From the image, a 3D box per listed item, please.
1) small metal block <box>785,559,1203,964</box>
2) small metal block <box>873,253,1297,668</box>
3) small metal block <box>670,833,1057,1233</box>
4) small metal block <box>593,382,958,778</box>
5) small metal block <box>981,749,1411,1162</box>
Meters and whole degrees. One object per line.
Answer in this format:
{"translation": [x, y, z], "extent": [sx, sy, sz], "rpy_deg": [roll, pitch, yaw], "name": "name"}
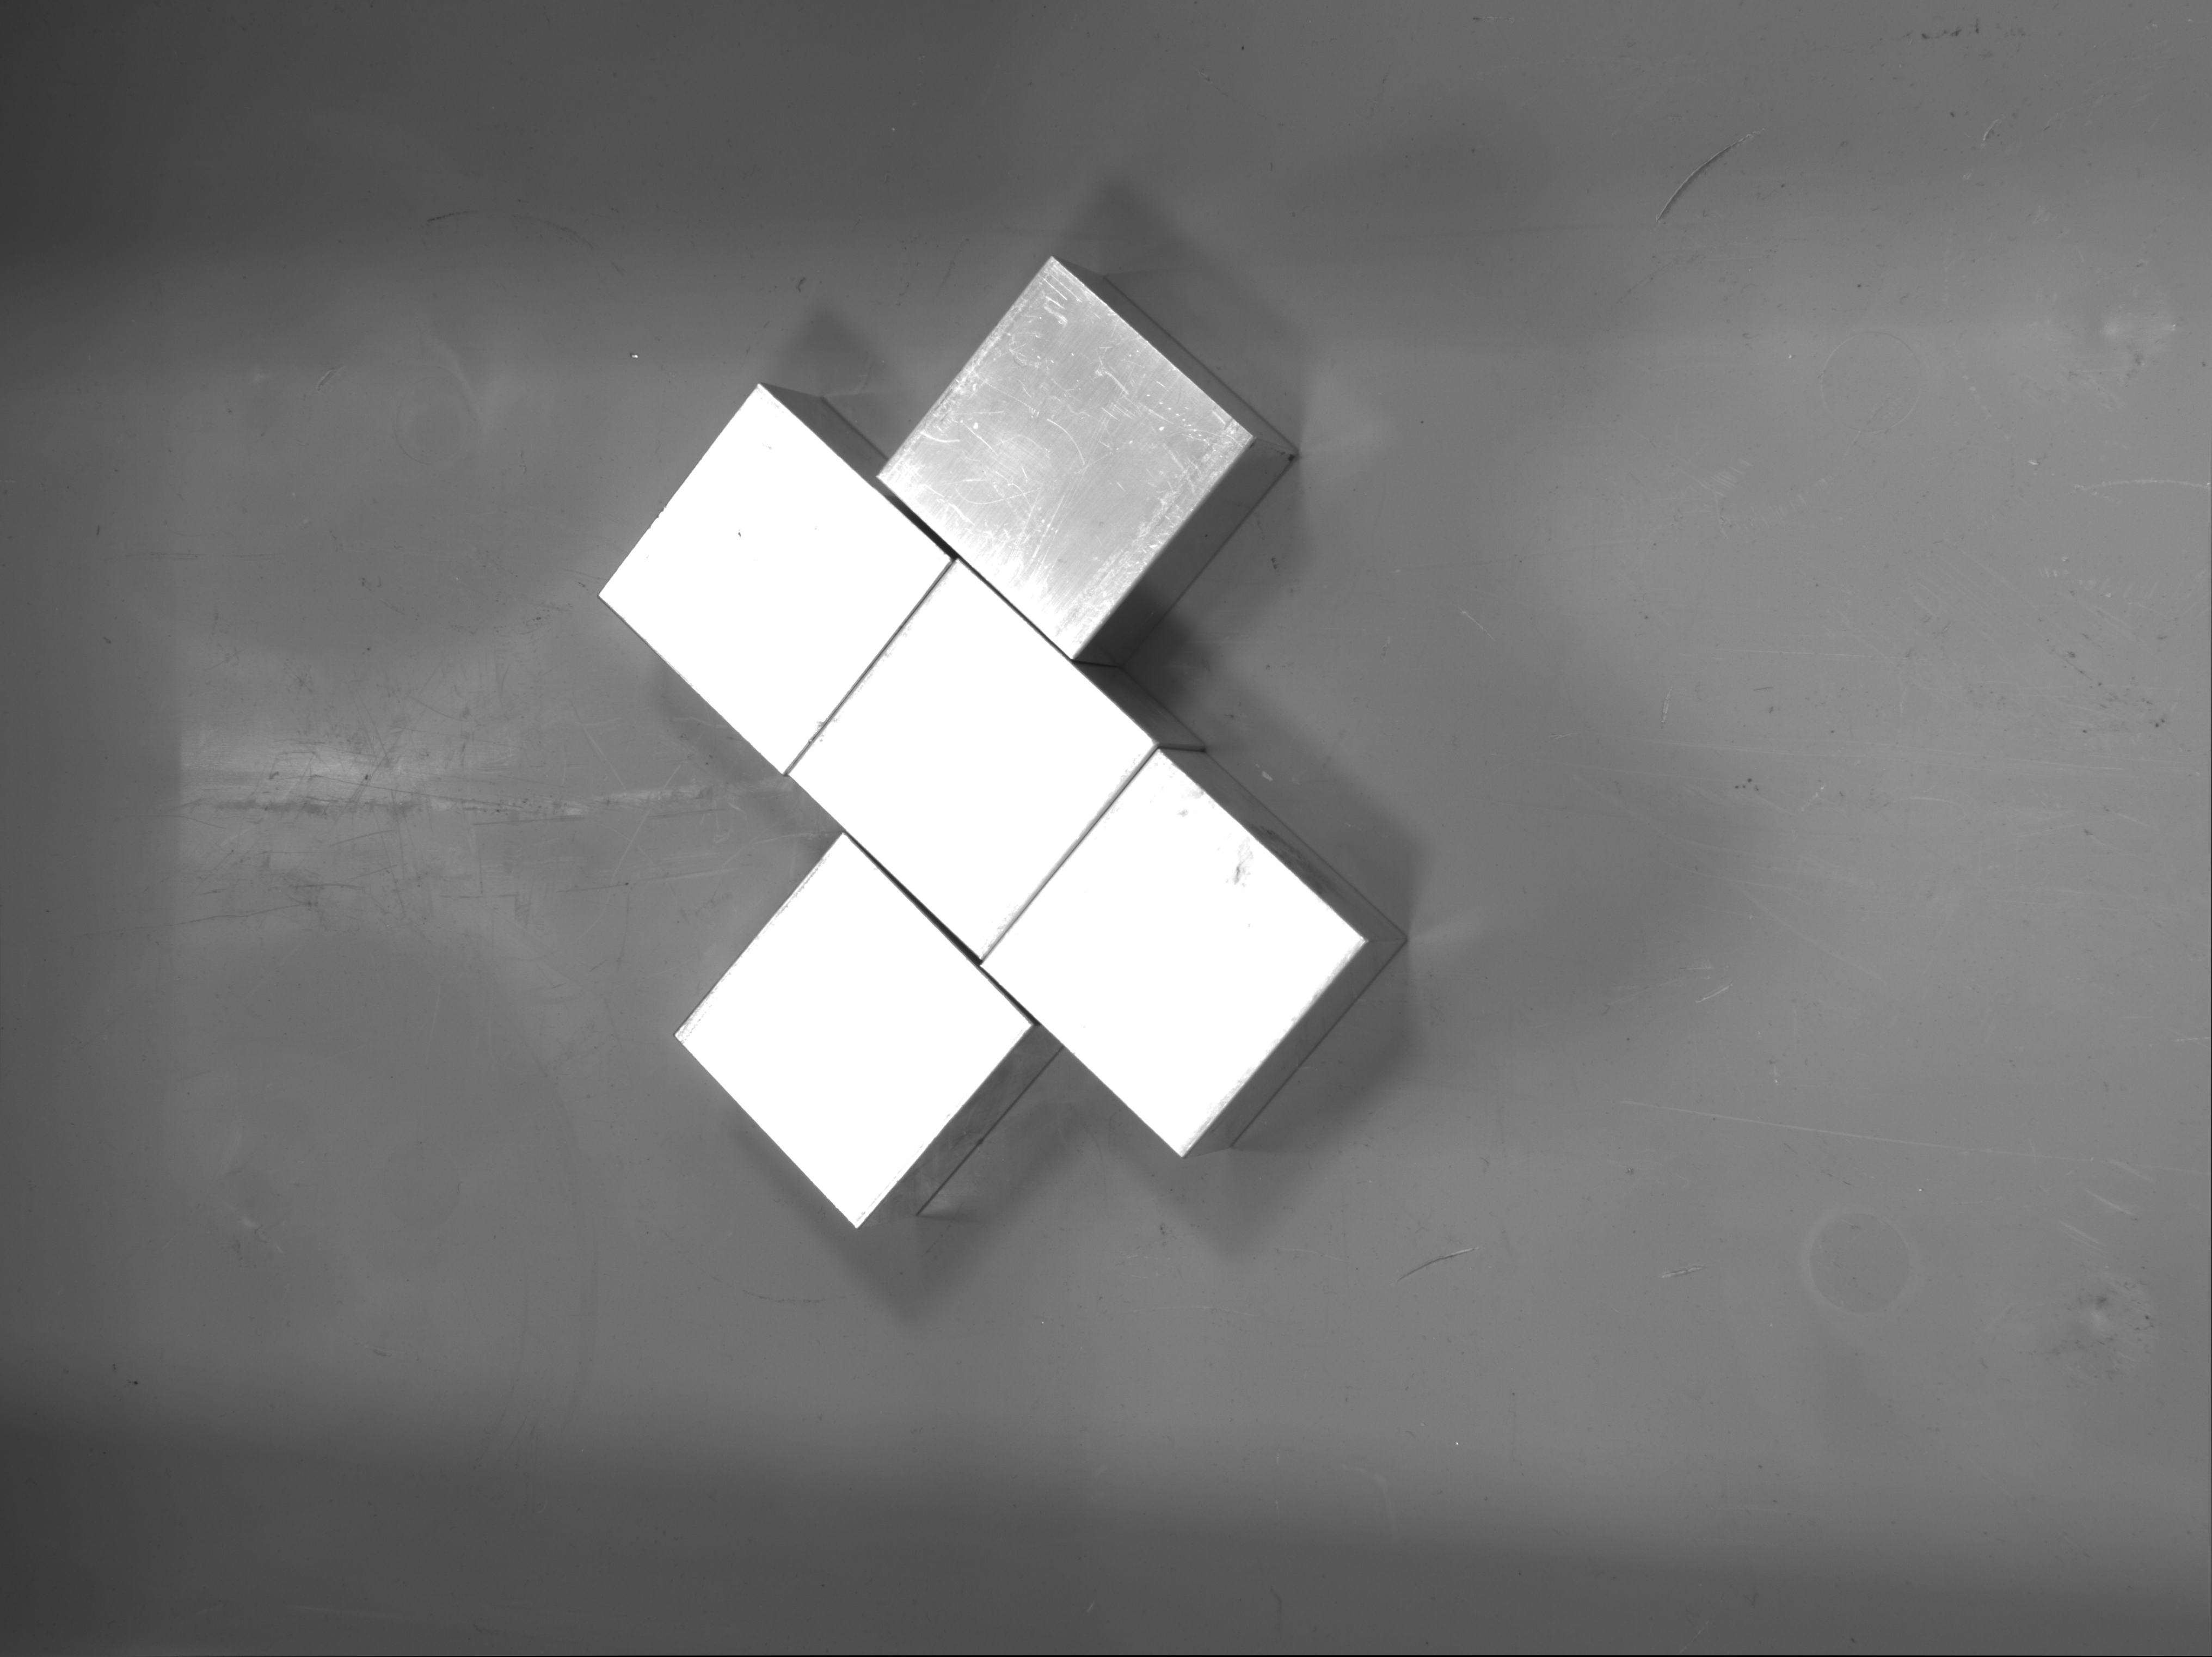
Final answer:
{"translation": [-0.020, -0.012, 0.651], "extent": [0.050, 0.025, 0.050], "rpy_deg": [43, 103, 15], "name": "small metal block"}
{"translation": [-0.003, -0.064, 0.646], "extent": [0.050, 0.025, 0.050], "rpy_deg": [43, 103, 15], "name": "small metal block"}
{"translation": [-0.041, 0.036, 0.660], "extent": [0.050, 0.025, 0.050], "rpy_deg": [45, 105, 15], "name": "small metal block"}
{"translation": [-0.056, -0.044, 0.665], "extent": [0.050, 0.025, 0.050], "rpy_deg": [43, 103, 15], "name": "small metal block"}
{"translation": [0.016, 0.022, 0.638], "extent": [0.050, 0.025, 0.050], "rpy_deg": [43, 103, 15], "name": "small metal block"}
